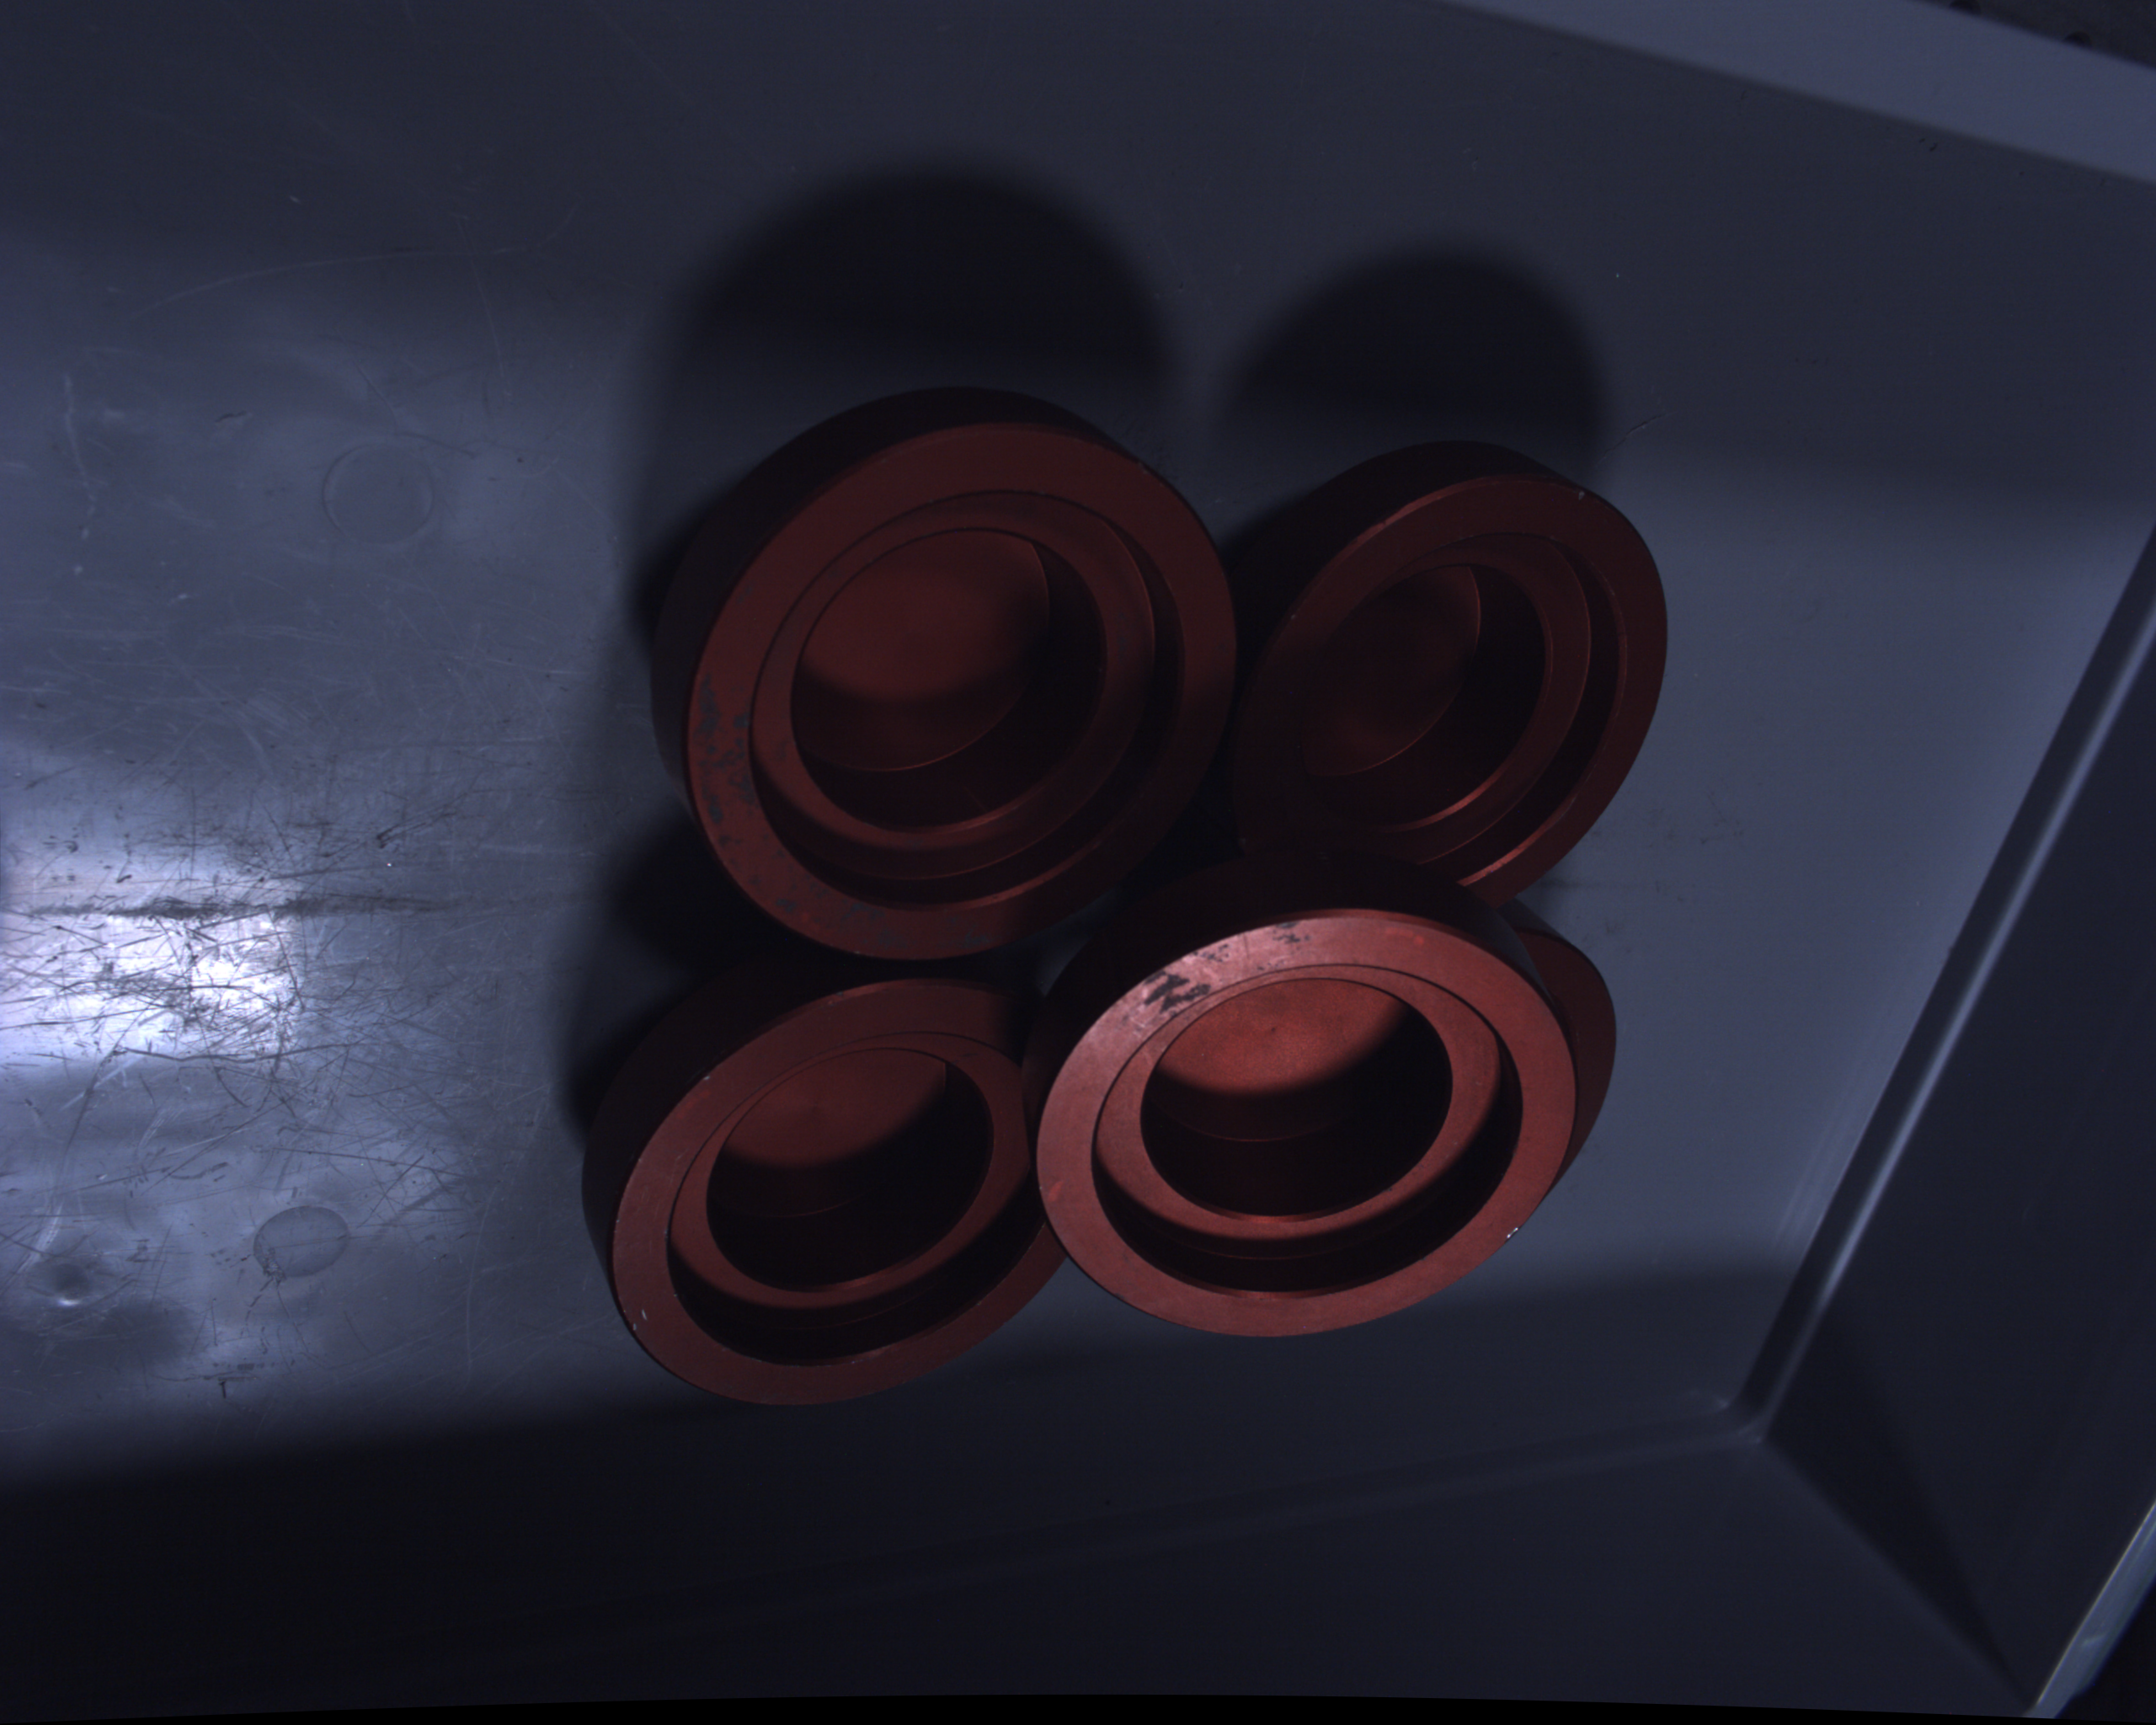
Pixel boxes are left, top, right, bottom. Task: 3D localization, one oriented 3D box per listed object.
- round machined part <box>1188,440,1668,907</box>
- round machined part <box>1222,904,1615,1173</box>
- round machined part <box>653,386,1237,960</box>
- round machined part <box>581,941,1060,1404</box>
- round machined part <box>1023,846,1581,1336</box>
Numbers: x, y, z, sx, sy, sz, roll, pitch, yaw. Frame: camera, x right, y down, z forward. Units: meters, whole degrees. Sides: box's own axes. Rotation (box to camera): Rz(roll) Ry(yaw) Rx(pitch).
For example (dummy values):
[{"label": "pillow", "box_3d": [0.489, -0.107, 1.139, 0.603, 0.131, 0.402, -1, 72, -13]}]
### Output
[{"label": "round machined part", "box_3d": [0.063, -0.036, 0.409, 0.099, 0.042, 0.097, -14, 125, -21]}, {"label": "round machined part", "box_3d": [0.066, 0.046, 0.462, 0.099, 0.042, 0.097, -14, 125, -21]}, {"label": "round machined part", "box_3d": [-0.025, -0.035, 0.361, 0.099, 0.042, 0.097, -14, 125, -21]}, {"label": "round machined part", "box_3d": [-0.047, 0.054, 0.404, 0.099, 0.042, 0.097, -14, 125, -21]}, {"label": "round machined part", "box_3d": [0.039, 0.038, 0.387, 0.099, 0.042, 0.097, -3, 122, -5]}]
